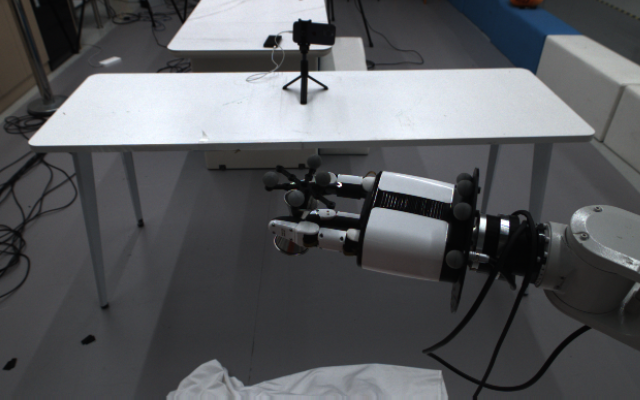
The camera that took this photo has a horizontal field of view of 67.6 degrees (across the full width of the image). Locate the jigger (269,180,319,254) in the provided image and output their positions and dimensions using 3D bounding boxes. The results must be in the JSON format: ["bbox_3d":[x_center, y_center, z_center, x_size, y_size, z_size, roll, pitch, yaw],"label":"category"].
[{"bbox_3d":[-0.027,0.026,0.566,0.043,0.071,0.043,10,36,-7],"label":"jigger"}]
